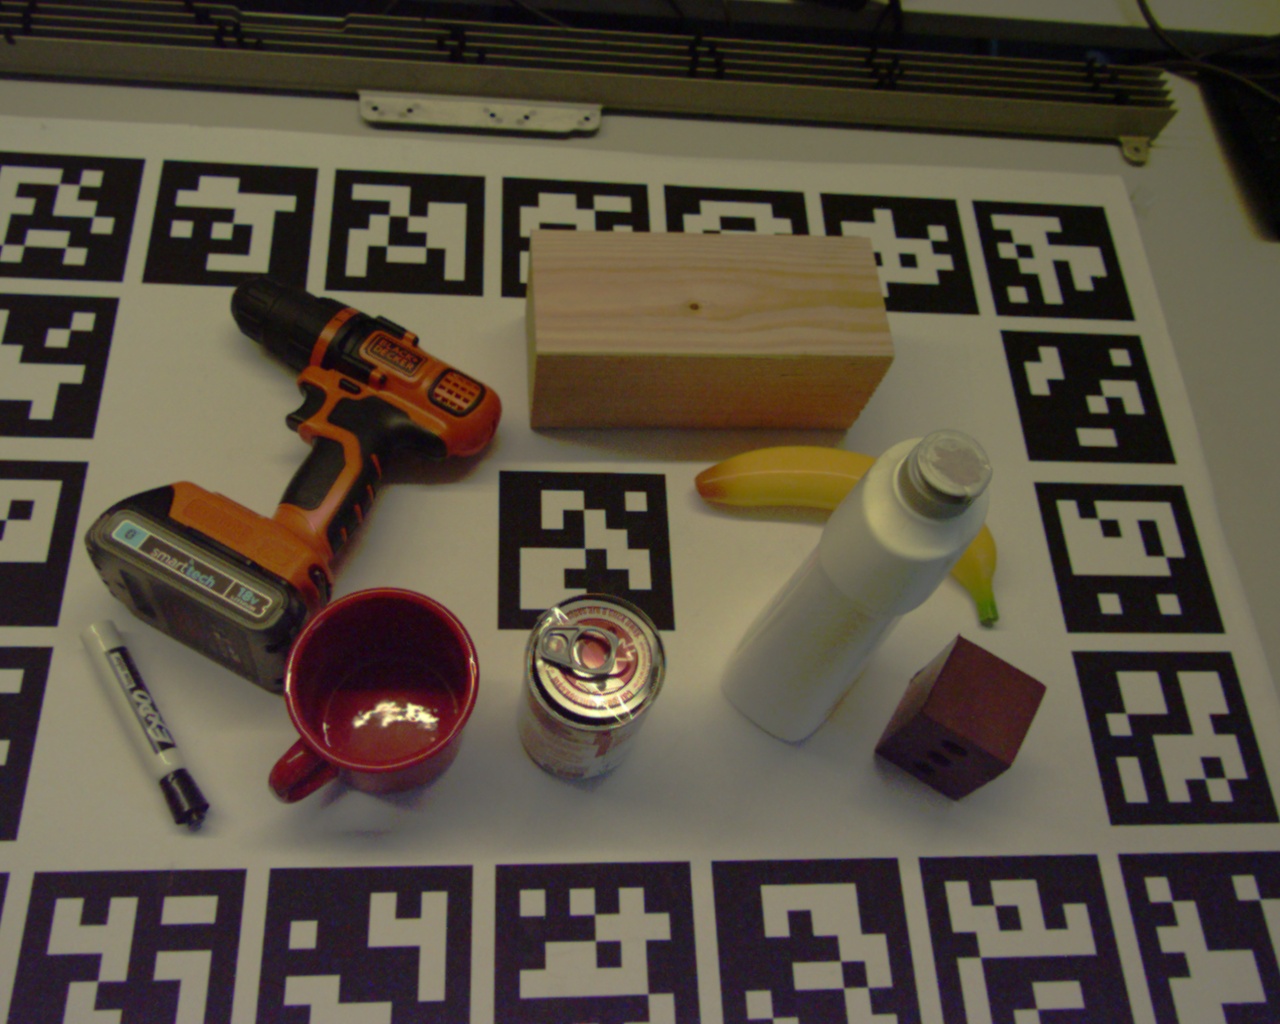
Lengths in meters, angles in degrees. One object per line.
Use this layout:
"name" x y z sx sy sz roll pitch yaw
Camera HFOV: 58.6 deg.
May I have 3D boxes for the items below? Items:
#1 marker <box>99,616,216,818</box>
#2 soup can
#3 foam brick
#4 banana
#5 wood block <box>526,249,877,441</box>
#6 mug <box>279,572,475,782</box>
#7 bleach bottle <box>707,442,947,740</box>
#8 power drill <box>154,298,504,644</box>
"marker" -0.262 0.111 0.621 0.019 0.019 0.122 -28 71 -17
"soup can" -0.034 0.089 0.607 0.067 0.102 0.068 4 59 -8
"foam brick" 0.165 0.116 0.643 0.053 0.078 0.051 31 62 9
"banana" 0.113 -0.013 0.717 0.197 0.039 0.074 16 76 -2
"wood block" 0.032 -0.105 0.727 0.205 0.091 0.090 0 65 -8
"mug" -0.143 0.097 0.606 0.094 0.081 0.116 41 69 10
"bleach bottle" 0.098 0.034 0.576 0.068 0.251 0.102 28 62 6
"power drill" -0.199 -0.028 0.681 0.185 0.057 0.186 28 62 3
